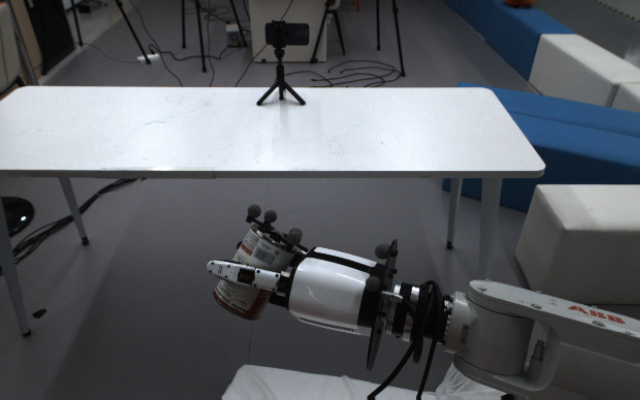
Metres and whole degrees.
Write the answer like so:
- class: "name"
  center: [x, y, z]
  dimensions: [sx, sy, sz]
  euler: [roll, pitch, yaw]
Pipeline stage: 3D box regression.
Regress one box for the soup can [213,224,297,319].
- class: "soup can"
  center: [-0.080, 0.091, 0.612]
  dimensions: [0.067, 0.101, 0.067]
  euler: [30, 2, -1]
